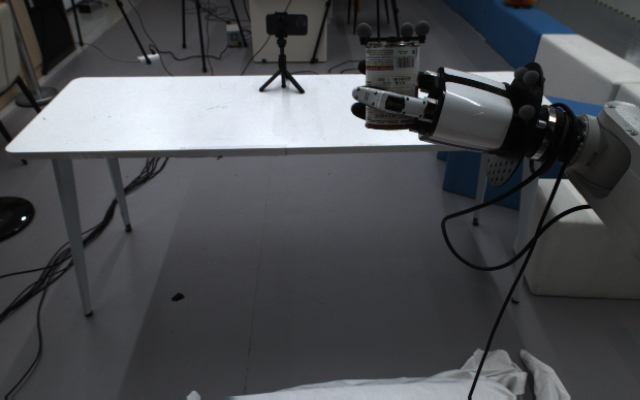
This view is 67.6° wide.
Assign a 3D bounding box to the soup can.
[{"bbox_3d":[0.092,-0.143,0.606,0.067,0.101,0.067,-1,17,0],"label":"soup can"}]
